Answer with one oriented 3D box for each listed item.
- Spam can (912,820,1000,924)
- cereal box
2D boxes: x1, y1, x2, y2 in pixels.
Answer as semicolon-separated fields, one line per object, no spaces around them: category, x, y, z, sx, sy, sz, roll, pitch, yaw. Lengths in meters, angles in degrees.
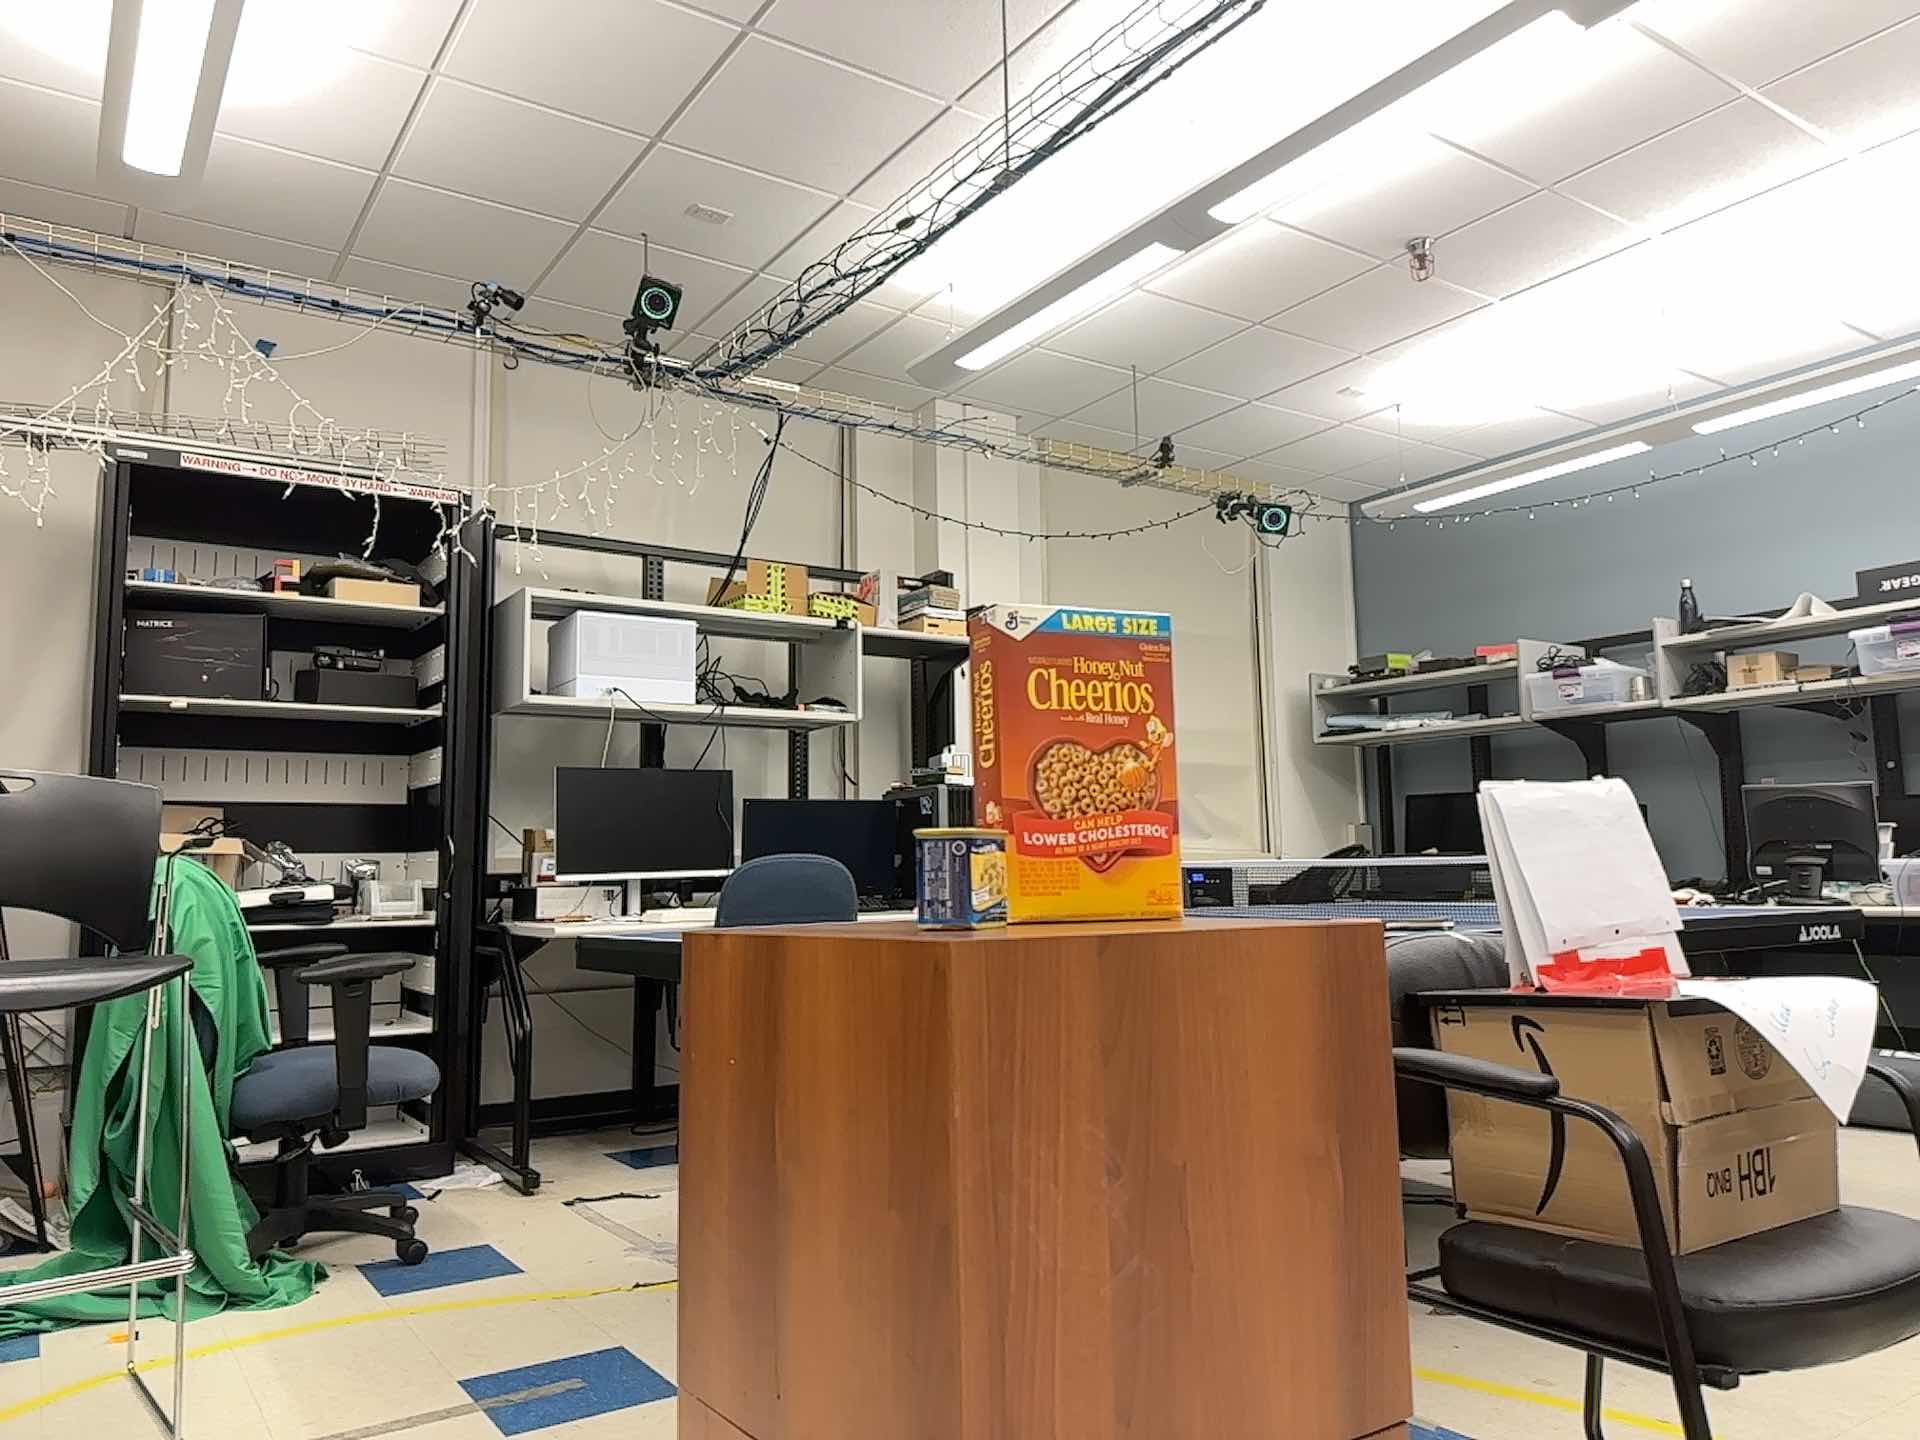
Spam can;-0.002;0.131;1.158;0.056;0.083;0.100;-3;-8;18
cereal box;0.112;0.042;1.331;0.195;0.297;0.065;4;-9;-25
